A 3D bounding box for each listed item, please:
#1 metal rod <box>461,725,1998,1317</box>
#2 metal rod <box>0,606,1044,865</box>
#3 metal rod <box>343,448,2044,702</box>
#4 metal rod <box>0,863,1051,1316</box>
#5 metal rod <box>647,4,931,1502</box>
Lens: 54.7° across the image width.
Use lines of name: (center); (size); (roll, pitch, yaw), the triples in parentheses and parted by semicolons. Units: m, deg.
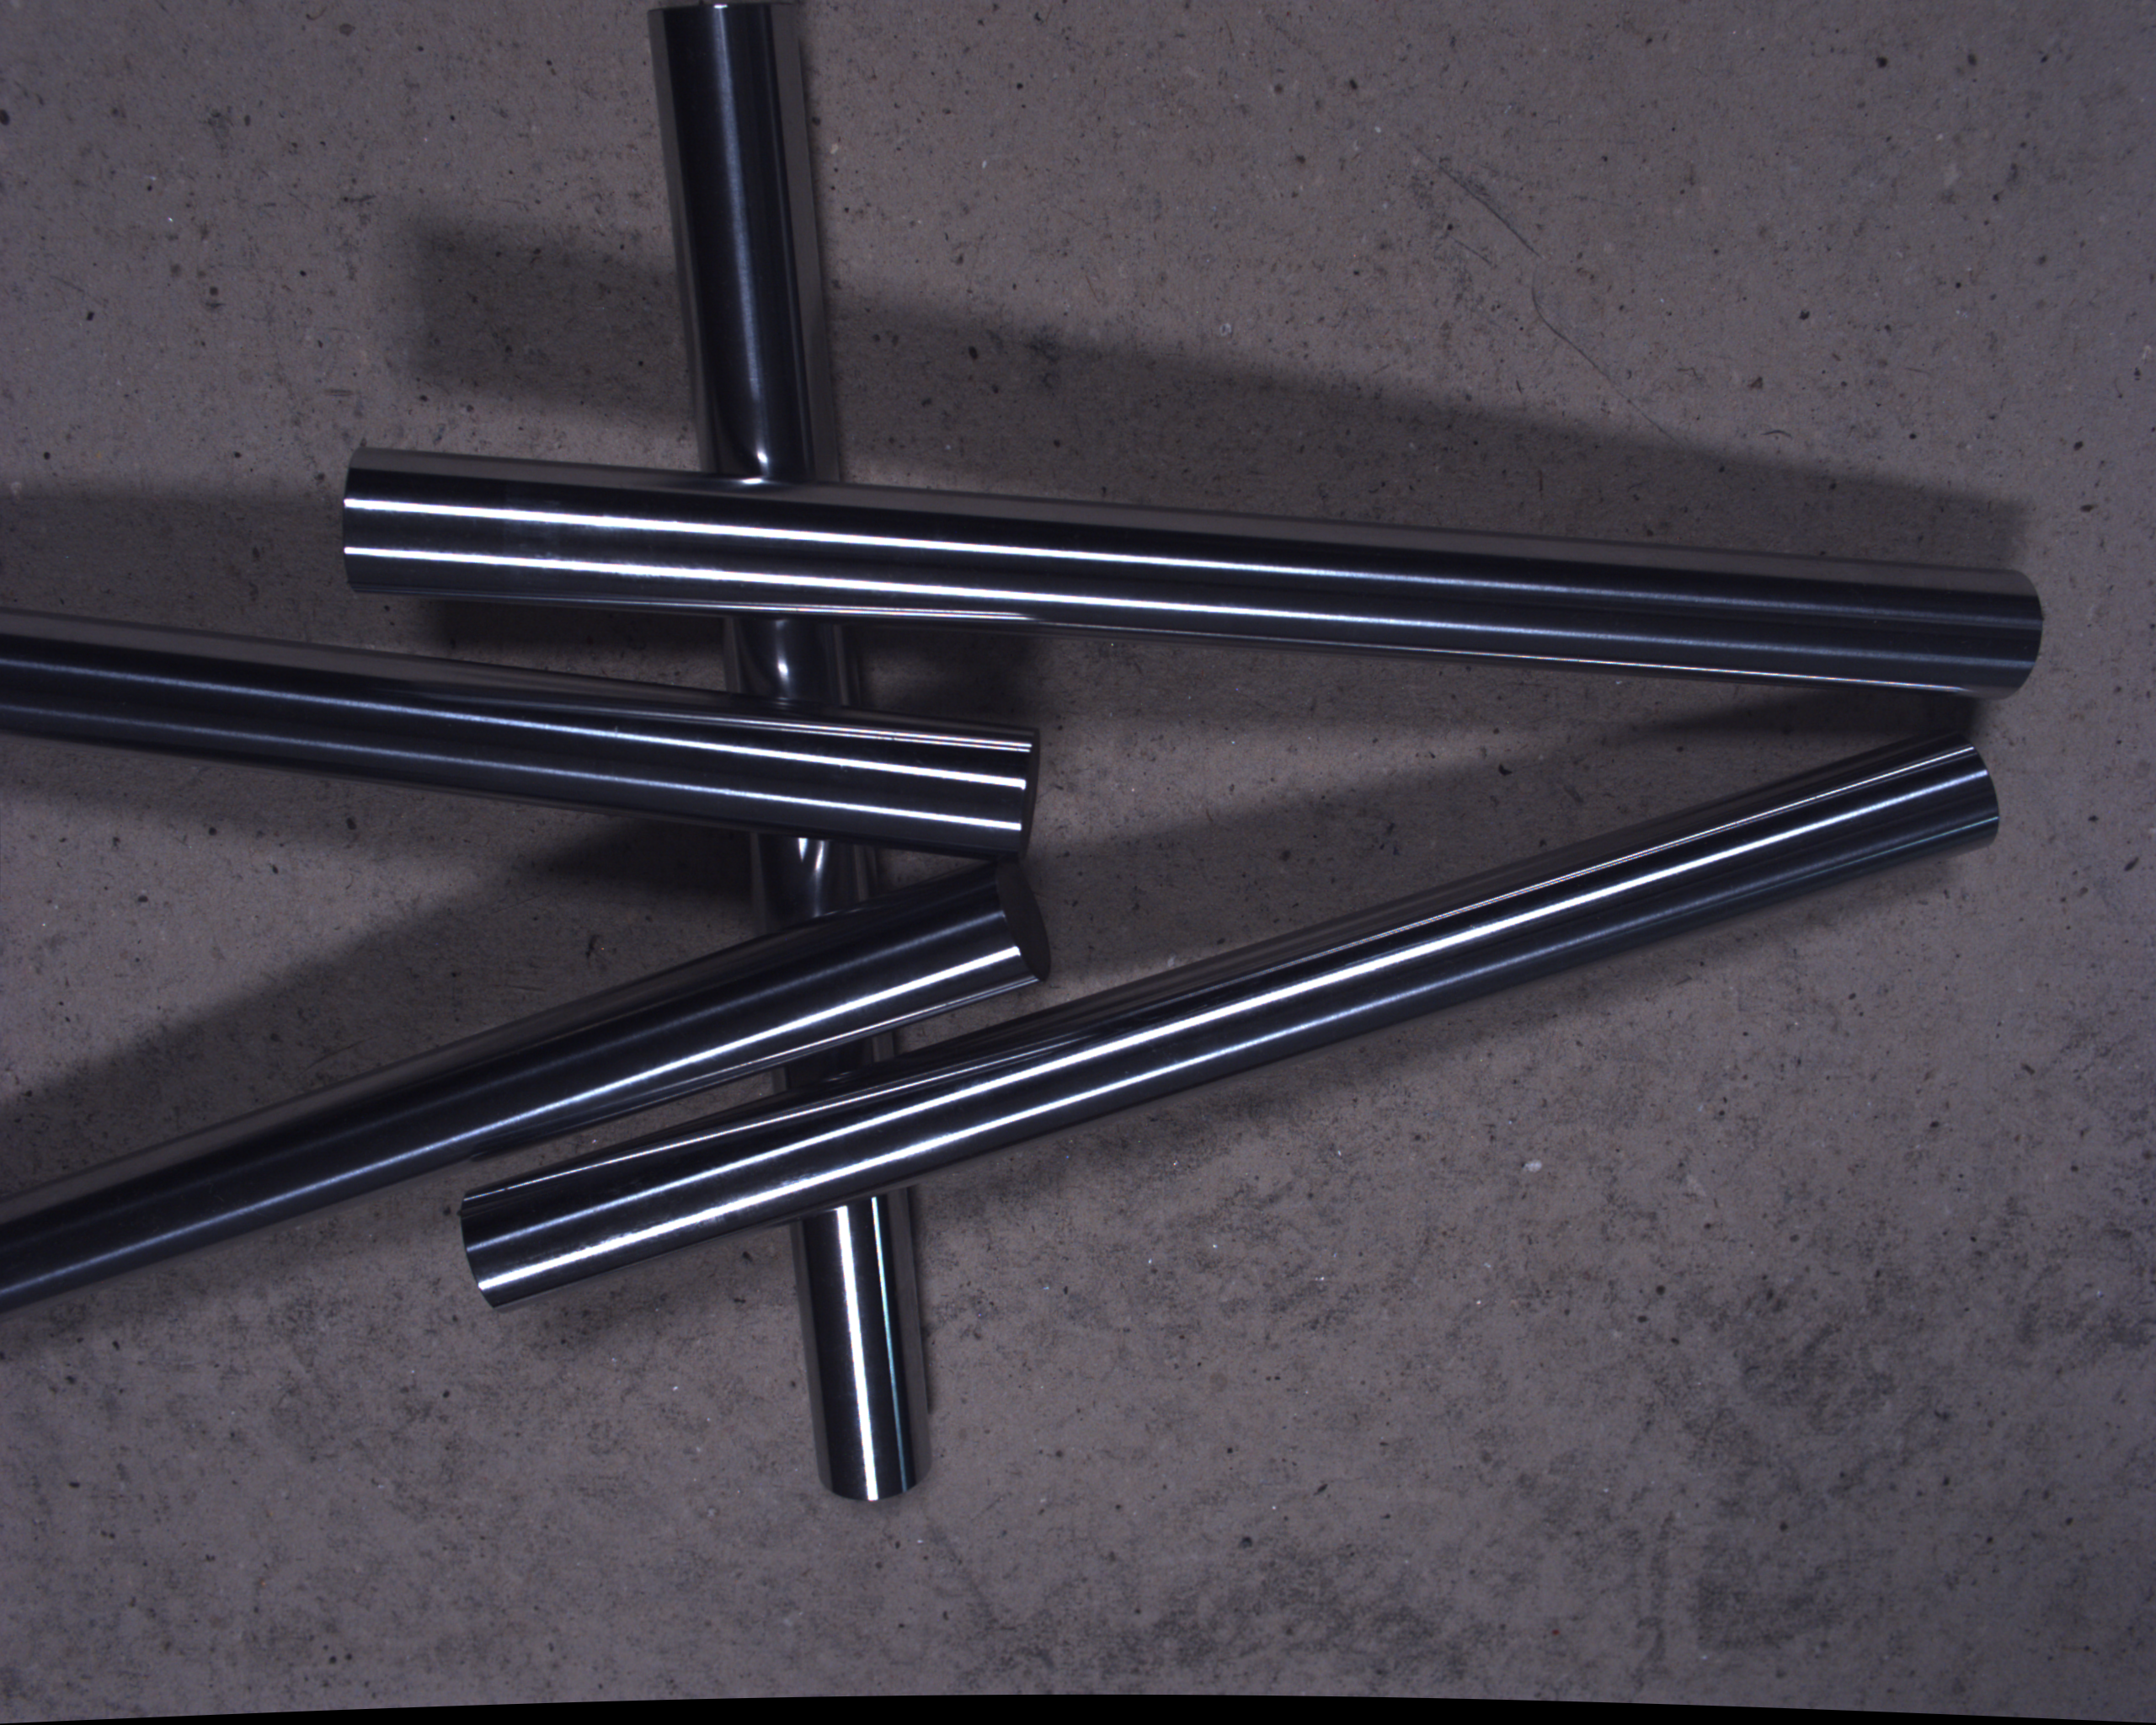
metal rod: (0.030, 0.030, 0.406); (0.302, 0.025, 0.025); (-18, 110, -1)
metal rod: (-0.158, -0.030, 0.383); (0.302, 0.025, 0.025); (7, 110, 3)
metal rod: (0.027, -0.050, 0.375); (0.302, 0.025, 0.025); (3, 110, -8)
metal rod: (-0.149, 0.057, 0.415); (0.301, 0.025, 0.025); (-19, 109, 12)
metal rod: (-0.053, -0.006, 0.408); (0.025, 0.025, 0.298); (-3, 110, 1)
